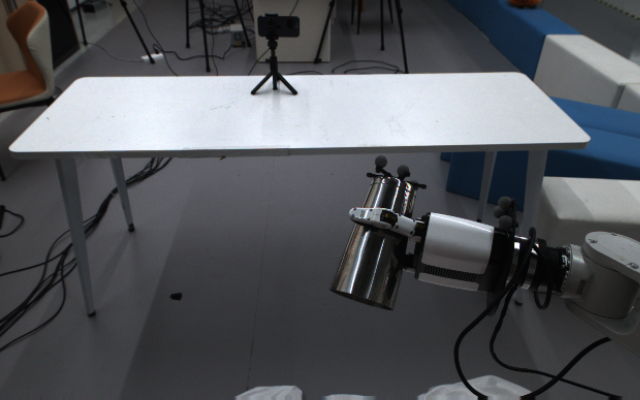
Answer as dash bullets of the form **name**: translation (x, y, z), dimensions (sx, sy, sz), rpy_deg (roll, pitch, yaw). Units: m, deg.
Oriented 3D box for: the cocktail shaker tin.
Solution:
- **cocktail shaker tin**: translation (0.082, 0.057, 0.674), dimensions (0.093, 0.093, 0.170), rpy_deg (14, 75, 17)
